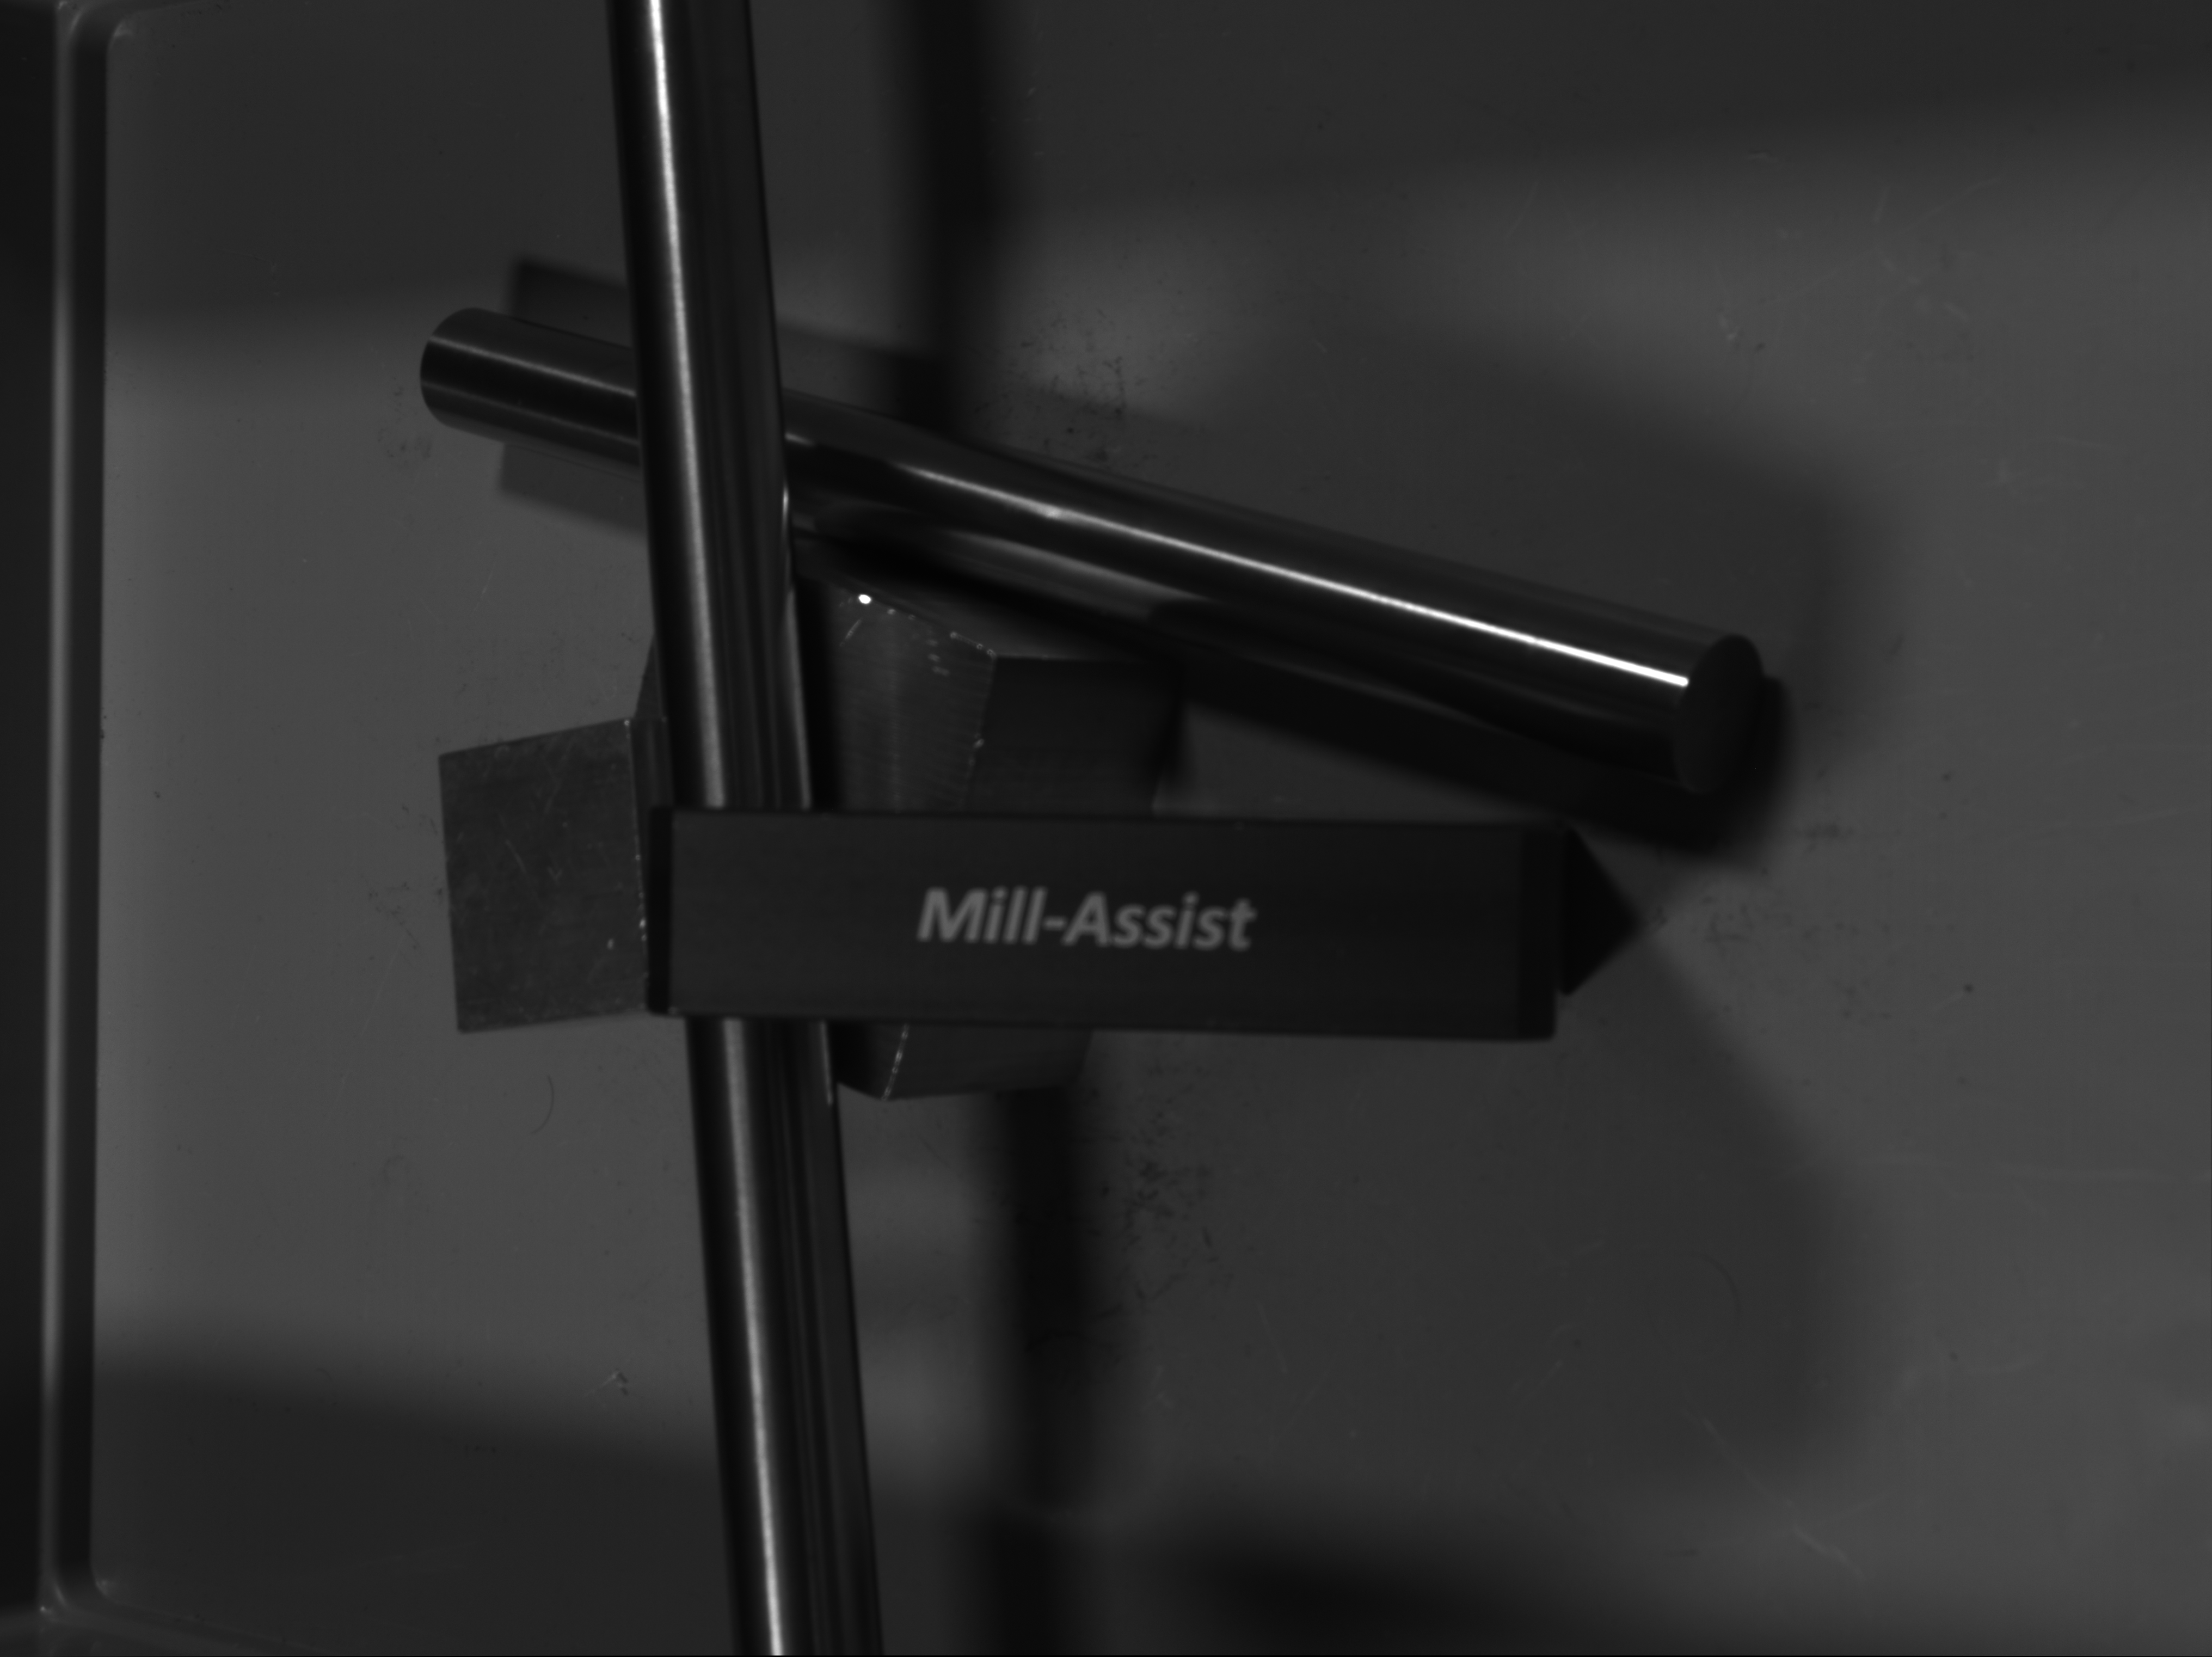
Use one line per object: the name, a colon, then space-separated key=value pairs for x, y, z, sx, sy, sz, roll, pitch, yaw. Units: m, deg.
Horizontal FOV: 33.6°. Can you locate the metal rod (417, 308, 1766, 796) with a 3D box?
metal rod: x=-0.018 y=-0.055 z=0.651 sx=0.299 sy=0.025 sz=0.025 roll=19 pitch=102 yaw=38

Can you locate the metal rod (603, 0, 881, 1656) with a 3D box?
metal rod: x=-0.062 y=-0.002 z=0.621 sx=0.025 sy=0.025 sz=0.300 roll=-8 pitch=85 yaw=39

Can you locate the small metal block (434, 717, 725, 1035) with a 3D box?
small metal block: x=-0.090 y=0.009 z=0.644 sx=0.050 sy=0.025 sz=0.050 roll=-8 pitch=84 yaw=39

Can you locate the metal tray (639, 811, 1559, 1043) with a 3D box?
metal tray: x=0.003 y=0.013 z=0.556 sx=0.130 sy=0.090 sz=0.030 roll=1 pitch=91 yaw=8

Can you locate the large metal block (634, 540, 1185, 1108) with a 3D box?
large metal block: x=-0.041 y=-0.003 z=0.653 sx=0.080 sy=0.050 sz=0.080 roll=23 pitch=104 yaw=37
